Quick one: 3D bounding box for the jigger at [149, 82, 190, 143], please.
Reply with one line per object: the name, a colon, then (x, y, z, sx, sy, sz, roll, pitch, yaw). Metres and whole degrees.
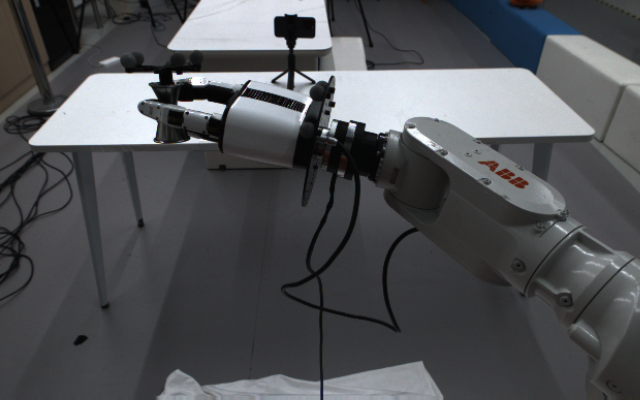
jigger: (-0.182, -0.105, 0.586, 0.043, 0.071, 0.043, 0, 22, 0)
